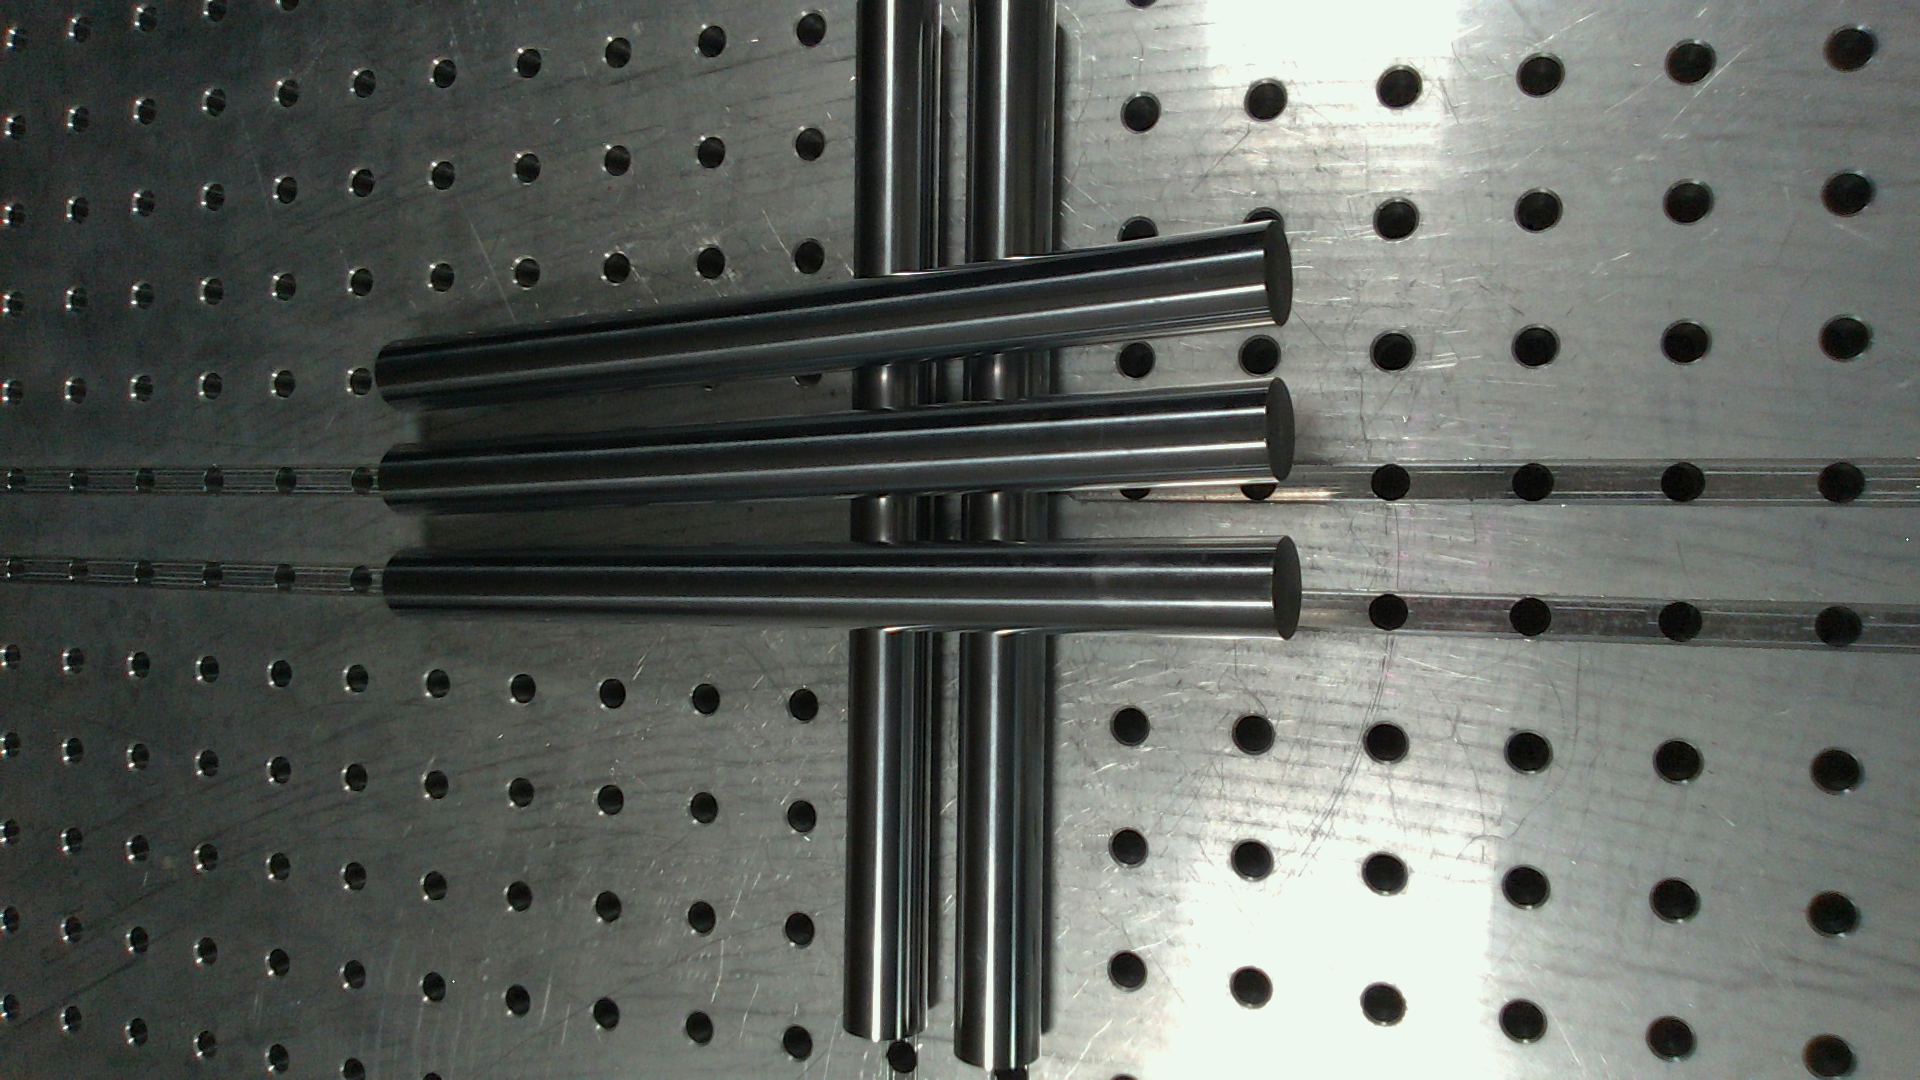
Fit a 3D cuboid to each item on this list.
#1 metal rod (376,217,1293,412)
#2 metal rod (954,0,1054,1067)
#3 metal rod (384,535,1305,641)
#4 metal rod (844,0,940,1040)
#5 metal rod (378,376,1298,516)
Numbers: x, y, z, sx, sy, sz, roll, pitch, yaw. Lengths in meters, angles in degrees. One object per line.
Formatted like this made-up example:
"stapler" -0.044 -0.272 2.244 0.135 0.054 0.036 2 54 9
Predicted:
"metal rod" -0.056 -0.059 0.396 0.299 0.025 0.025 -2 89 28
"metal rod" 0.012 -0.003 0.394 0.025 0.025 0.300 1 90 20
"metal rod" -0.053 0.013 0.395 0.299 0.025 0.025 -1 90 29
"metal rod" -0.020 -0.007 0.406 0.025 0.025 0.300 1 90 20
"metal rod" -0.055 -0.023 0.396 0.299 0.025 0.025 -1 90 28
